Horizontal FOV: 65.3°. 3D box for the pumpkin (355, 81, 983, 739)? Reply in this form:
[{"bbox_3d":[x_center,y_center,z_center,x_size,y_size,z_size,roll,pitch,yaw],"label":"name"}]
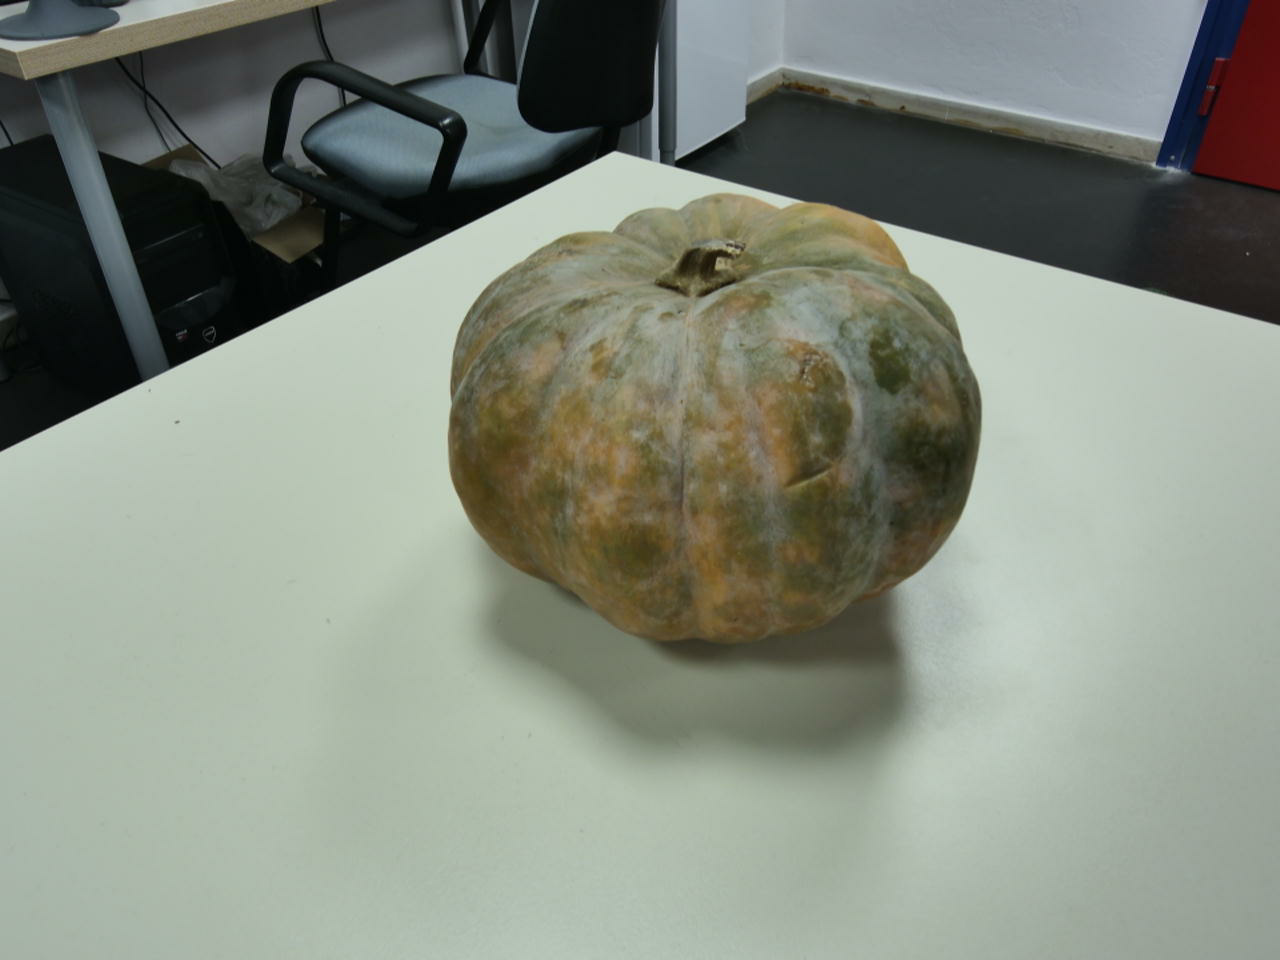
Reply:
[{"bbox_3d":[0.031,-0.036,0.467,0.252,0.169,0.251,0,37,0],"label":"pumpkin"}]
